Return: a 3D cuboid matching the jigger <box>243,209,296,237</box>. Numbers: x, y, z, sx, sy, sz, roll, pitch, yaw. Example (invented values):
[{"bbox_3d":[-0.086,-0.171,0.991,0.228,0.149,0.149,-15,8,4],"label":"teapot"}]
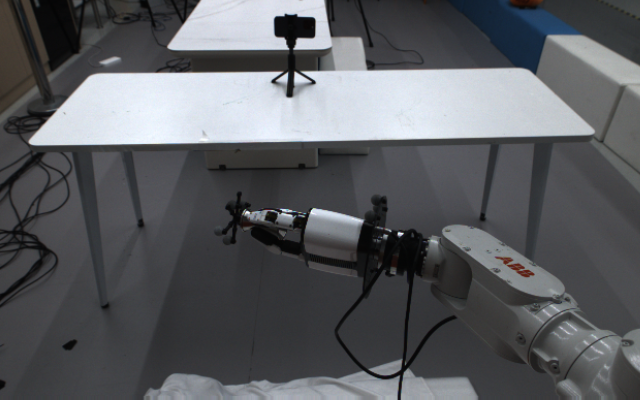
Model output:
[{"bbox_3d":[-0.085,0.033,0.786,0.071,0.043,0.043,10,35,16],"label":"jigger"}]
